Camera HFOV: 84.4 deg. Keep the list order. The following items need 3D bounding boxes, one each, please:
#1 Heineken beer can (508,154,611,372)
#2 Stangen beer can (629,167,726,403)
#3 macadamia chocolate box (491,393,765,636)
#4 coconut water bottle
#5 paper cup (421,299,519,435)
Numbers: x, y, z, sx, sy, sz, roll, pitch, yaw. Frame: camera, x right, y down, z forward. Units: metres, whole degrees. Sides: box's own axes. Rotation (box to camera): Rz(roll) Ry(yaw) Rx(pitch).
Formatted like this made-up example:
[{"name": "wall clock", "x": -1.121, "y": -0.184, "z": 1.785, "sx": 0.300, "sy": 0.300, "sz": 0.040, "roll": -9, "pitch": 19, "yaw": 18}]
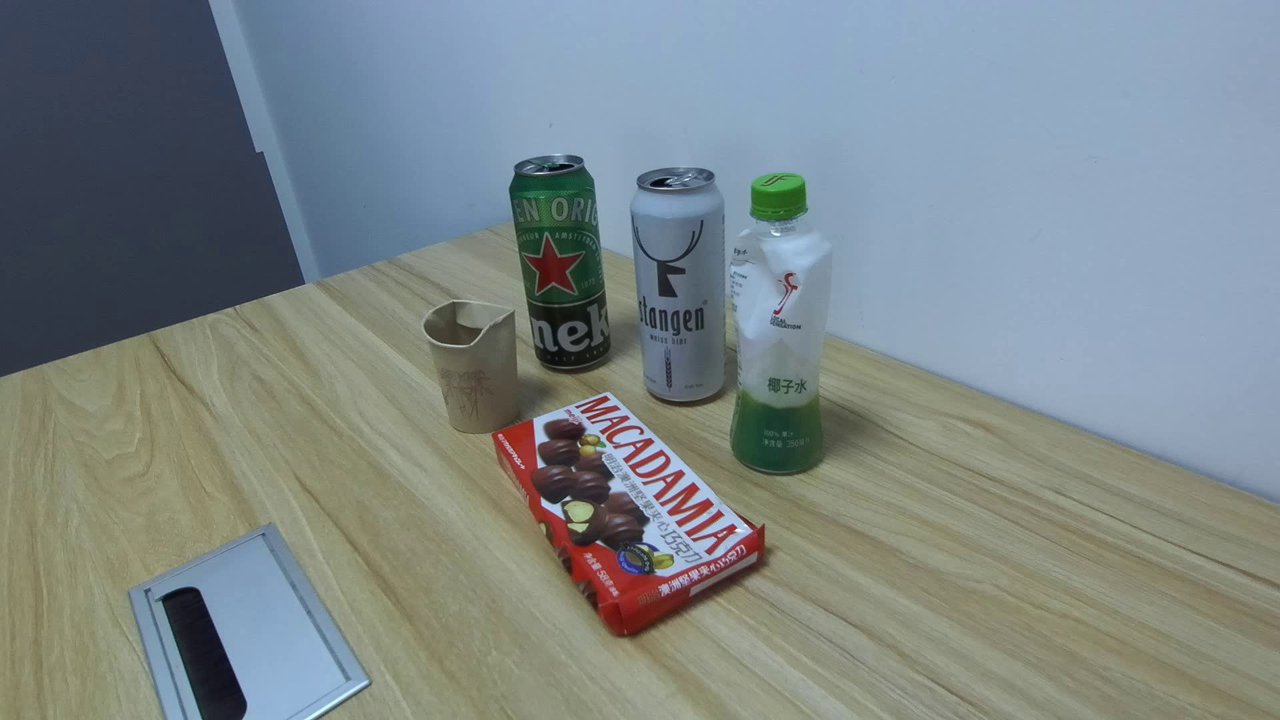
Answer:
[{"name": "Heineken beer can", "x": -0.063, "y": -0.076, "z": 0.582, "sx": 0.067, "sy": 0.169, "sz": 0.067, "roll": -3, "pitch": 29, "yaw": 2}, {"name": "Stangen beer can", "x": 0.031, "y": -0.052, "z": 0.524, "sx": 0.067, "sy": 0.171, "sz": 0.067, "roll": -3, "pitch": 30, "yaw": 2}, {"name": "macadamia chocolate box", "x": -0.016, "y": 0.084, "z": 0.441, "sx": 0.106, "sy": 0.028, "sz": 0.182, "roll": -20, "pitch": 35, "yaw": -25}, {"name": "coconut water bottle", "x": 0.088, "y": -0.020, "z": 0.441, "sx": 0.069, "sy": 0.187, "sz": 0.069, "roll": -3, "pitch": 30, "yaw": 2}, {"name": "paper cup", "x": -0.127, "y": 0.007, "z": 0.532, "sx": 0.066, "sy": 0.084, "sz": 0.072, "roll": 11, "pitch": 31, "yaw": 24}]
